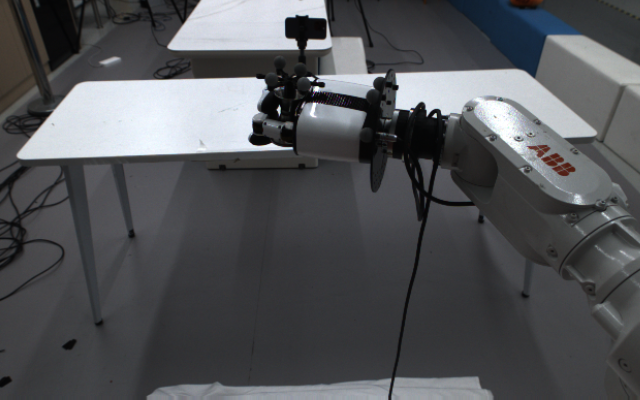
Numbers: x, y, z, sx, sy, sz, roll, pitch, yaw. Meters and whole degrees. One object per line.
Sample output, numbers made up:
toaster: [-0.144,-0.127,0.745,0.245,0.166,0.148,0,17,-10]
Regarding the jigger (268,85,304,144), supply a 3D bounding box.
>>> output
jigger: [-0.046,-0.112,0.655,0.043,0.071,0.043,6,32,-4]
